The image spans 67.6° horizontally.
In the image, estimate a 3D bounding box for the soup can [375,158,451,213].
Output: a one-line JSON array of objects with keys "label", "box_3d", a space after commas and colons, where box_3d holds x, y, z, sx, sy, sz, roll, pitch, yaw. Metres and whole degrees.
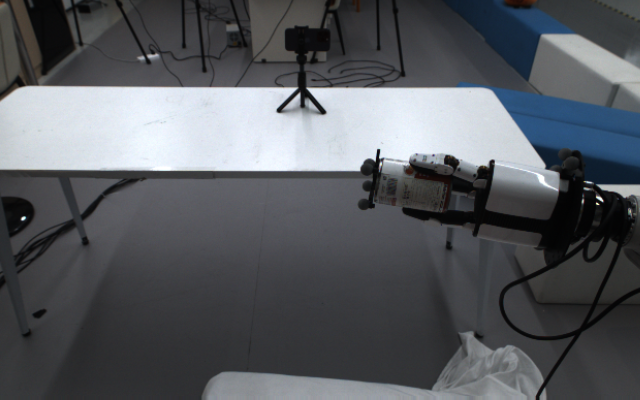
[{"label": "soup can", "box_3d": [0.135, -0.022, 0.688, 0.101, 0.067, 0.067, 9, 35, 9]}]
